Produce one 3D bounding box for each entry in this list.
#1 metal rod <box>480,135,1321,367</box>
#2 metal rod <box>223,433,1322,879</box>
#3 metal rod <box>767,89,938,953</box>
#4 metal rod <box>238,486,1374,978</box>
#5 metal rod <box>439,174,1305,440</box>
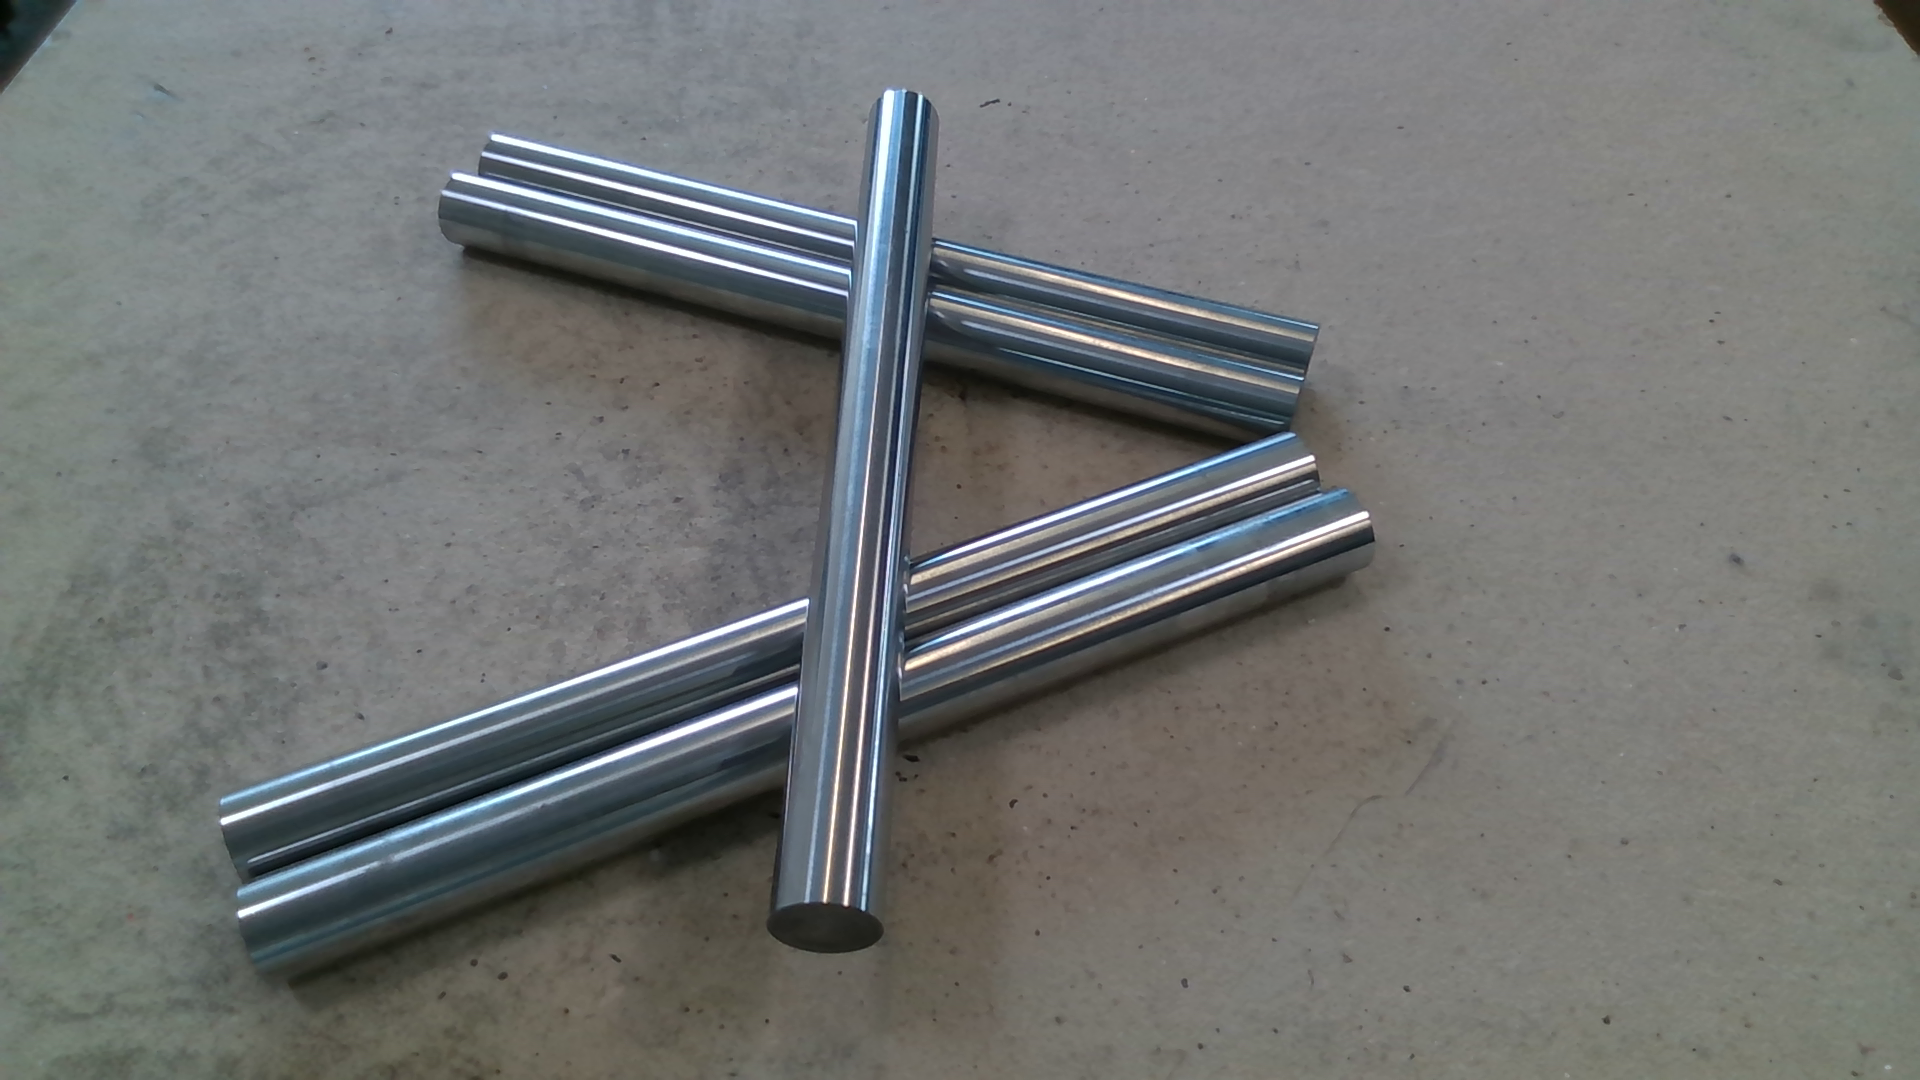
[{"bbox_3d":[-0.029,-0.097,0.474,0.300,0.025,0.025,16,52,13],"label":"metal rod"},{"bbox_3d":[-0.036,0.026,0.373,0.300,0.025,0.025,-19,53,-15],"label":"metal rod"},{"bbox_3d":[-0.024,-0.032,0.388,0.025,0.025,0.299,1,50,1],"label":"metal rod"},{"bbox_3d":[-0.026,0.043,0.359,0.300,0.025,0.025,-19,53,-15],"label":"metal rod"},{"bbox_3d":[-0.037,-0.079,0.459,0.300,0.025,0.025,16,52,13],"label":"metal rod"}]
